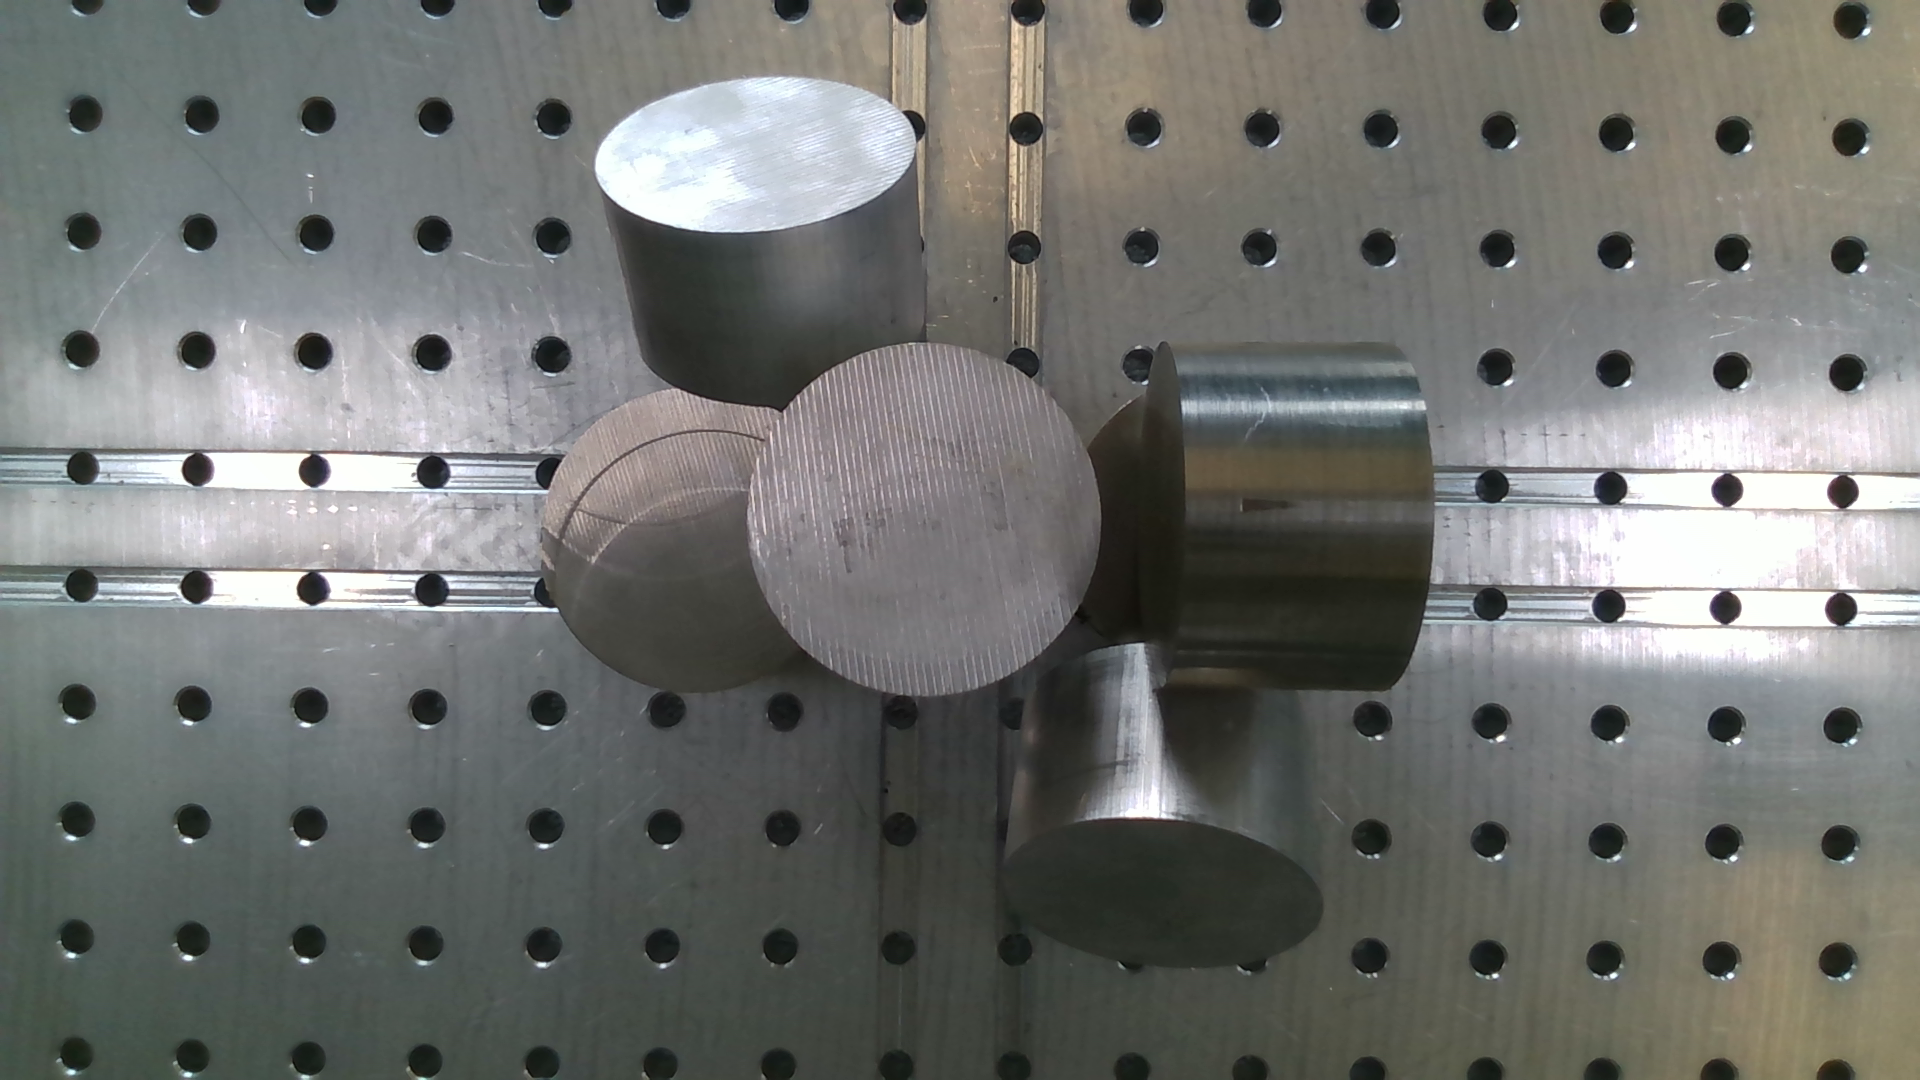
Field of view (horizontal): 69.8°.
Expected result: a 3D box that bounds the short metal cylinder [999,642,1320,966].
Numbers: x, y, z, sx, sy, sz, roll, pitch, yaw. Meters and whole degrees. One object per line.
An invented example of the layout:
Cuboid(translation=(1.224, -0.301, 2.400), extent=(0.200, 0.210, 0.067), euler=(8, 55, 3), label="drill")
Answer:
Cuboid(translation=(0.053, 0.071, 0.364), extent=(0.080, 0.080, 0.050), euler=(10, 50, 0), label="short metal cylinder")

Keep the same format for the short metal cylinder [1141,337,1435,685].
Cuboid(translation=(0.071, -0.006, 0.319), extent=(0.050, 0.080, 0.080), euler=(0, 90, 0), label="short metal cylinder")

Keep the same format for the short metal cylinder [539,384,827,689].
Cuboid(translation=(-0.070, -0.001, 0.384), extent=(0.080, 0.050, 0.080), euler=(0, 90, 1), label="short metal cylinder")

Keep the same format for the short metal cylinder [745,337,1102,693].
Cuboid(translation=(-0.008, -0.005, 0.334), extent=(0.080, 0.050, 0.080), euler=(0, 90, 0), label="short metal cylinder")

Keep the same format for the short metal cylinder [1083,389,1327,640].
Cuboid(translation=(0.067, -0.004, 0.385), extent=(0.080, 0.050, 0.080), euler=(0, 90, 0), label="short metal cylinder")

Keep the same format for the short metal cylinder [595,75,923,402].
Cuboid(translation=(-0.051, -0.081, 0.364), extent=(0.080, 0.080, 0.050), euler=(-2, 134, 0), label="short metal cylinder")
